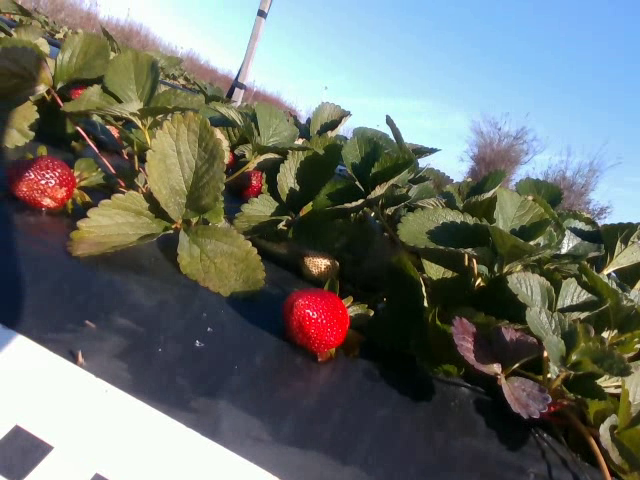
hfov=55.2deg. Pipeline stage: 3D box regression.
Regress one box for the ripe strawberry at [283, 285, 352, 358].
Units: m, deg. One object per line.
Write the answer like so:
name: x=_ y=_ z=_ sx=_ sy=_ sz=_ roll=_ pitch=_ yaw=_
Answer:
ripe strawberry: x=-0.005 y=0.044 z=0.340 sx=0.043 sy=0.042 sz=0.050 roll=-40 pitch=-33 yaw=6

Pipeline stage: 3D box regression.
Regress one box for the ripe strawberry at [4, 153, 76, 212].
ripe strawberry: x=-0.186 y=-0.039 z=0.396 sx=0.042 sy=0.043 sz=0.053 roll=35 pitch=2 yaw=18
